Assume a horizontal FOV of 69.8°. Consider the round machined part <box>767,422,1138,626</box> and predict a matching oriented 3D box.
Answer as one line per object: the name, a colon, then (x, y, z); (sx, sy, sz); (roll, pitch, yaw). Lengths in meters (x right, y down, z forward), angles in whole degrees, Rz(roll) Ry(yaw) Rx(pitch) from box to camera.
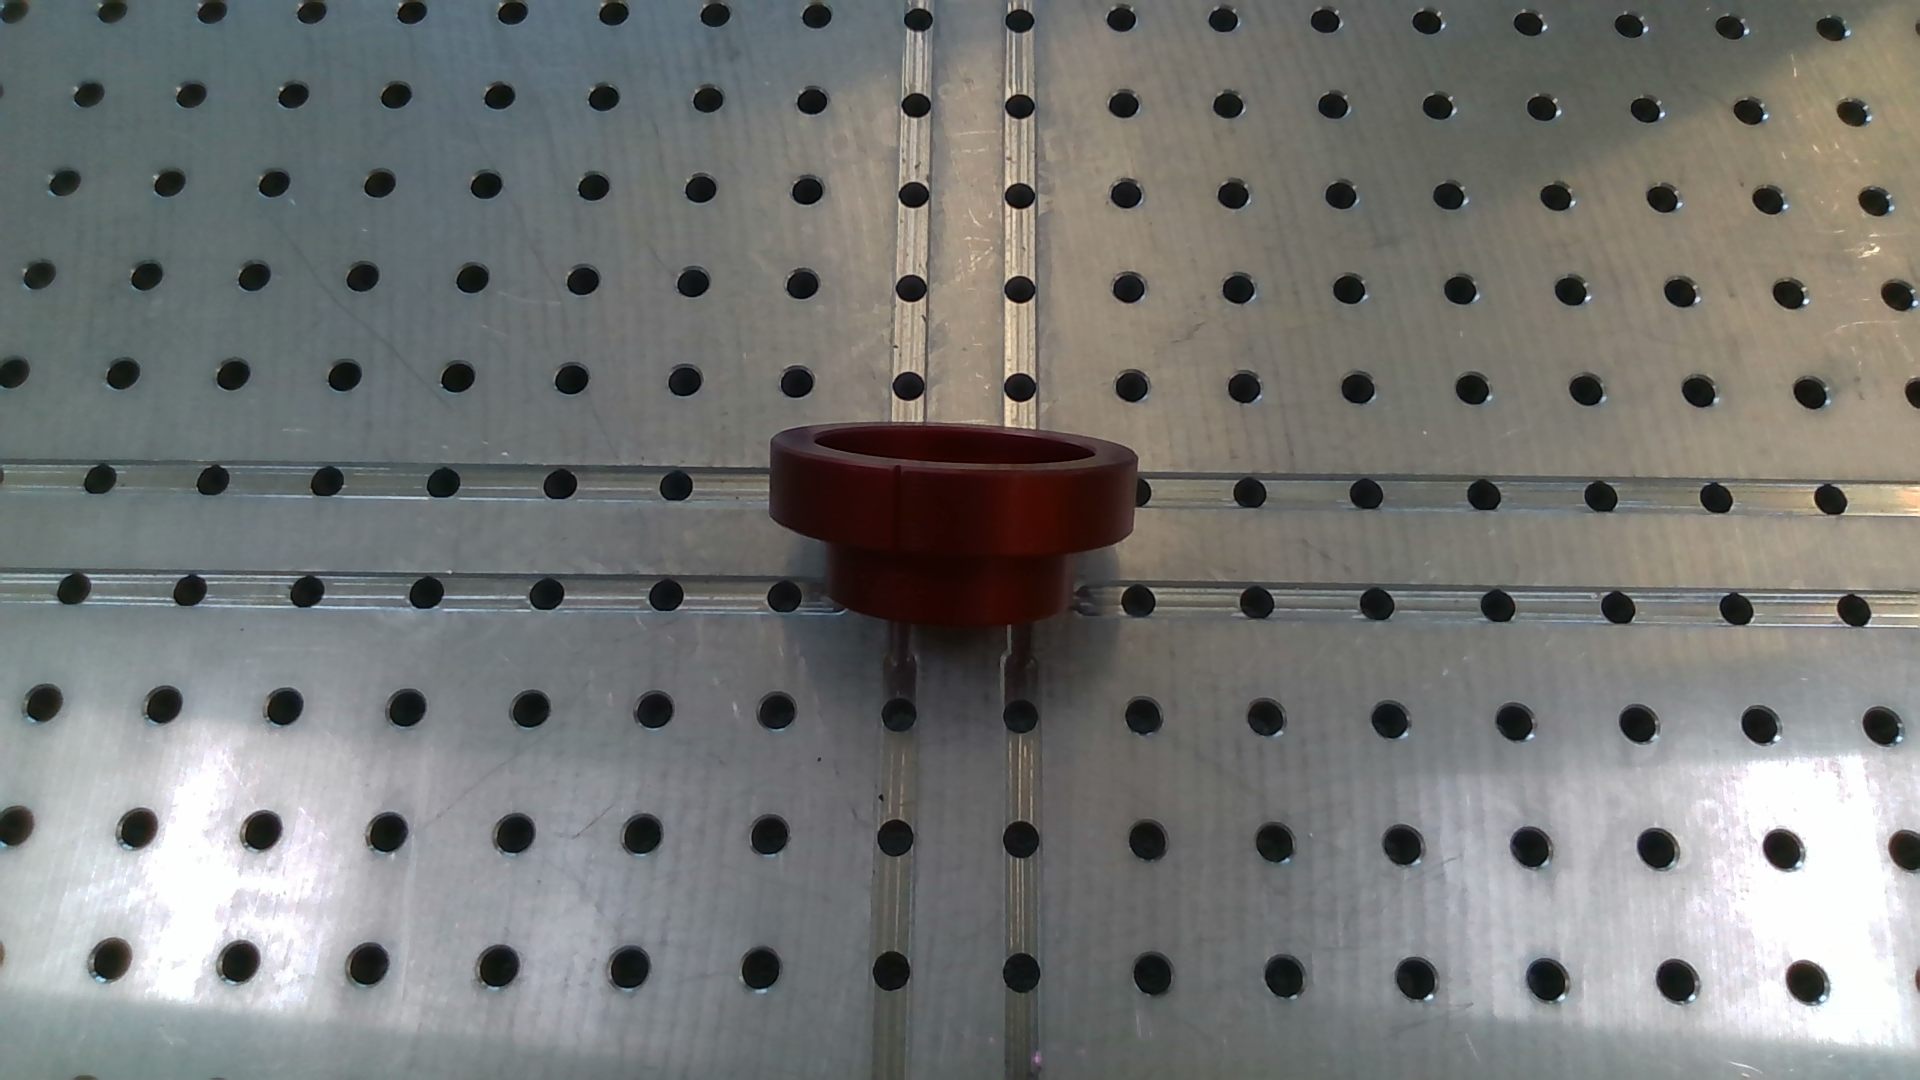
round machined part: (-0.003, -0.005, 0.371); (0.098, 0.098, 0.042); (3, 101, 1)
